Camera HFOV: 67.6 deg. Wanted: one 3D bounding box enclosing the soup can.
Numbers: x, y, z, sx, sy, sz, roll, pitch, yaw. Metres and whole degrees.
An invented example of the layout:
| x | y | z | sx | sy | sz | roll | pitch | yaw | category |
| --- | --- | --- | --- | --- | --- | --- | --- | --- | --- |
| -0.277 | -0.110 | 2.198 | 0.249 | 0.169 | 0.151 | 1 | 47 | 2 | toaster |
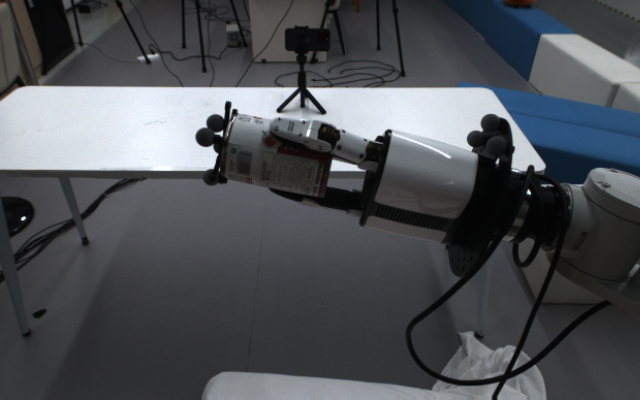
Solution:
| x | y | z | sx | sy | sz | roll | pitch | yaw | category |
| --- | --- | --- | --- | --- | --- | --- | --- | --- | --- |
| -0.037 | -0.044 | 0.481 | 0.101 | 0.067 | 0.067 | 11 | 35 | -2 | soup can |
